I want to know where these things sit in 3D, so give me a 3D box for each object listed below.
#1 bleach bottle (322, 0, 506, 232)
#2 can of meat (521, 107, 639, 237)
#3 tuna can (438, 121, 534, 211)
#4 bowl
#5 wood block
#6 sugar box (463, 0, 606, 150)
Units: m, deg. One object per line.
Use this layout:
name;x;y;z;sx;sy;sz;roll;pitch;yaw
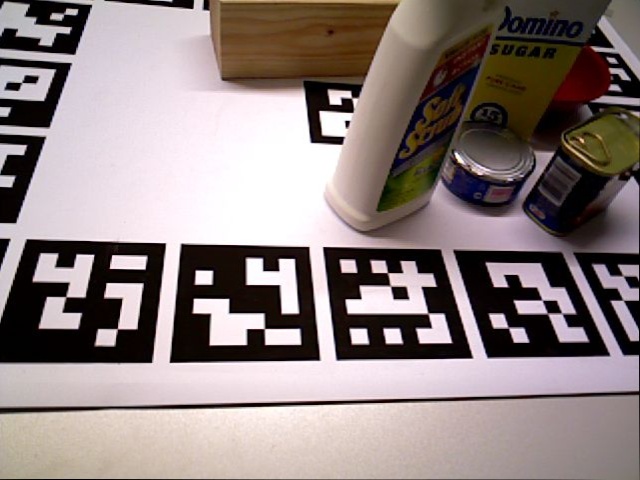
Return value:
bleach bottle;0.070;-0.121;0.389;0.100;0.257;0.067;-21;56;-26
can of meat;0.237;-0.059;0.486;0.100;0.086;0.057;-25;56;-30
tuna can;0.148;-0.069;0.501;0.085;0.034;0.084;4;53;-7
bowl;0.233;-0.182;0.600;0.160;0.056;0.159;2;50;-4
wood block;-0.022;-0.231;0.574;0.203;0.092;0.090;-6;56;-17
sugar box;0.175;-0.161;0.488;0.093;0.180;0.044;15;51;6
